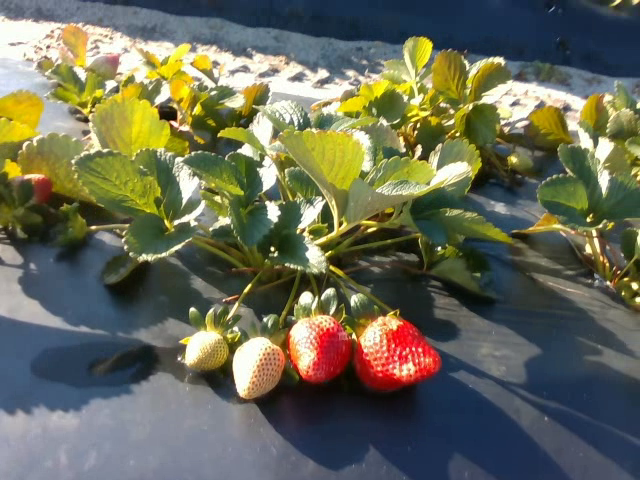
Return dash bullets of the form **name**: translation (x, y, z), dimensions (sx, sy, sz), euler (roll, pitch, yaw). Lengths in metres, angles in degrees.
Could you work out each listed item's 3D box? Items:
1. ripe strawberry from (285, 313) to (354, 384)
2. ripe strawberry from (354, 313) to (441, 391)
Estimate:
- **ripe strawberry**: translation (-0.002, 0.068, 0.360), dimensions (0.050, 0.044, 0.061), euler (32, 21, -1)
- **ripe strawberry**: translation (0.052, 0.072, 0.364), dimensions (0.056, 0.052, 0.067), euler (-42, 29, -23)
